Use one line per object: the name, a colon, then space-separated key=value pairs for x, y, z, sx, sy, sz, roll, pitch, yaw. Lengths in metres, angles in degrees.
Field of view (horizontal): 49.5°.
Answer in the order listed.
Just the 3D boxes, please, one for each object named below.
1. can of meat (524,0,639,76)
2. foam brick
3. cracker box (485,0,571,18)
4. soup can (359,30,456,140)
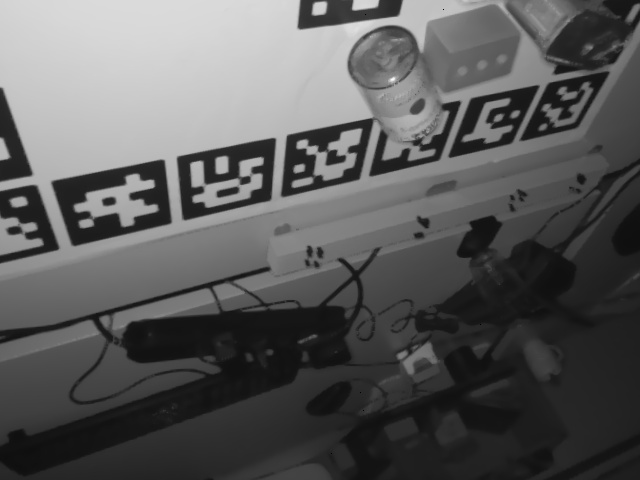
can of meat: x=0.266 y=-0.212 z=0.688 sx=0.103 sy=0.084 sz=0.057 roll=-4 pitch=139 yaw=-31
foam brick: x=0.167 y=-0.185 z=0.689 sx=0.079 sy=0.051 sz=0.052 roll=-20 pitch=145 yaw=-12
cracker box: x=0.237 y=-0.285 z=0.561 sx=0.216 sy=0.072 sz=0.162 roll=-20 pitch=146 yaw=-18
soup can: x=0.089 y=-0.149 z=0.680 sx=0.067 sy=0.068 sz=0.103 roll=-35 pitch=151 yaw=11
